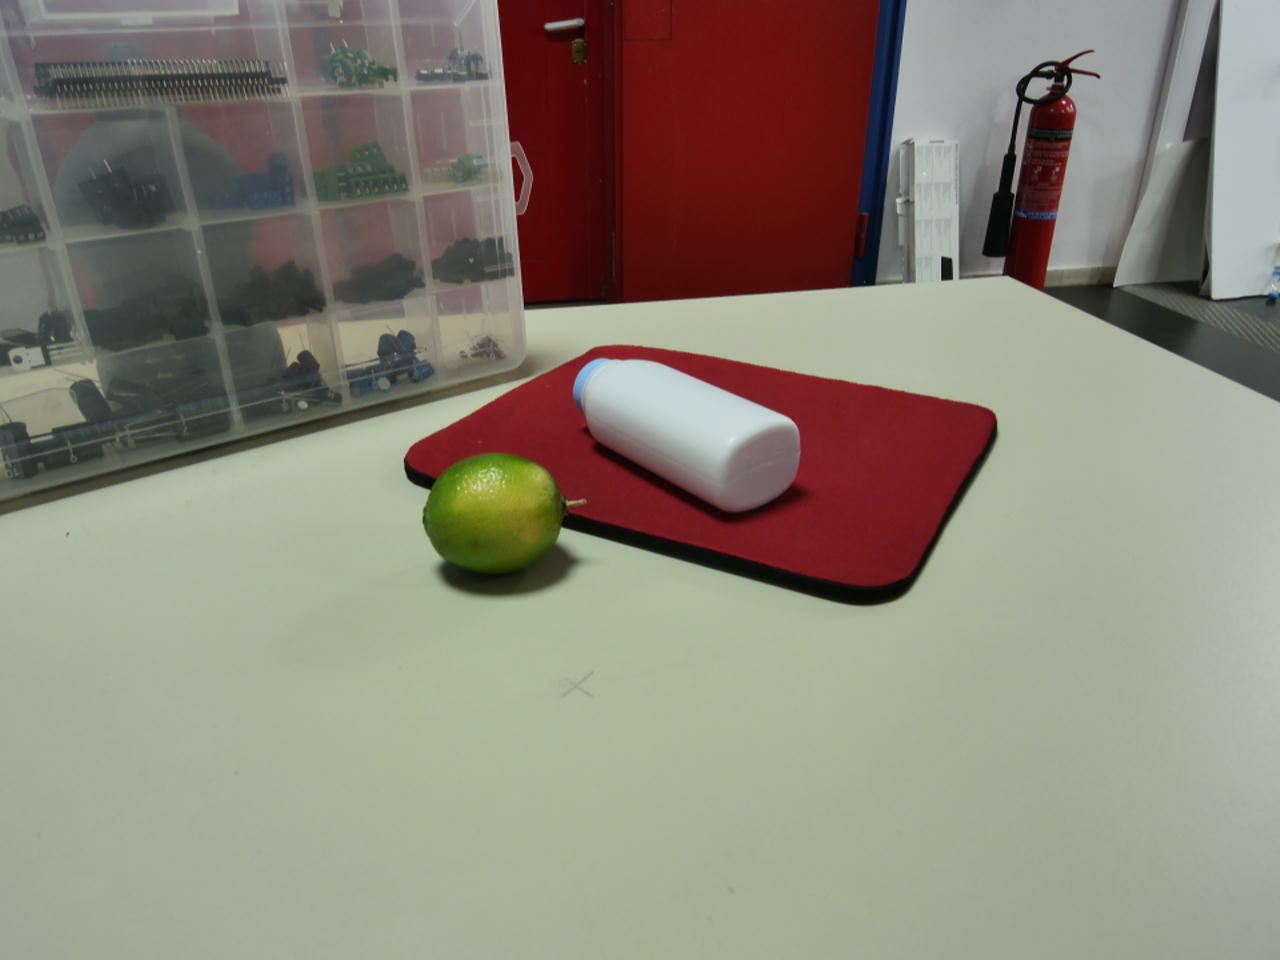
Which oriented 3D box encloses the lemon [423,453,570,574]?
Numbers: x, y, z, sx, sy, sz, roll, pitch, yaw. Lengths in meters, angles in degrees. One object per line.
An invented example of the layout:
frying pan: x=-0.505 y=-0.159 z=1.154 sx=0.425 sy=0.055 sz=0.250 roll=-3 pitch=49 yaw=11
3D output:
lemon: x=-0.061 y=0.014 z=0.421 sx=0.055 sy=0.050 sz=0.054 roll=17 pitch=29 yaw=33
